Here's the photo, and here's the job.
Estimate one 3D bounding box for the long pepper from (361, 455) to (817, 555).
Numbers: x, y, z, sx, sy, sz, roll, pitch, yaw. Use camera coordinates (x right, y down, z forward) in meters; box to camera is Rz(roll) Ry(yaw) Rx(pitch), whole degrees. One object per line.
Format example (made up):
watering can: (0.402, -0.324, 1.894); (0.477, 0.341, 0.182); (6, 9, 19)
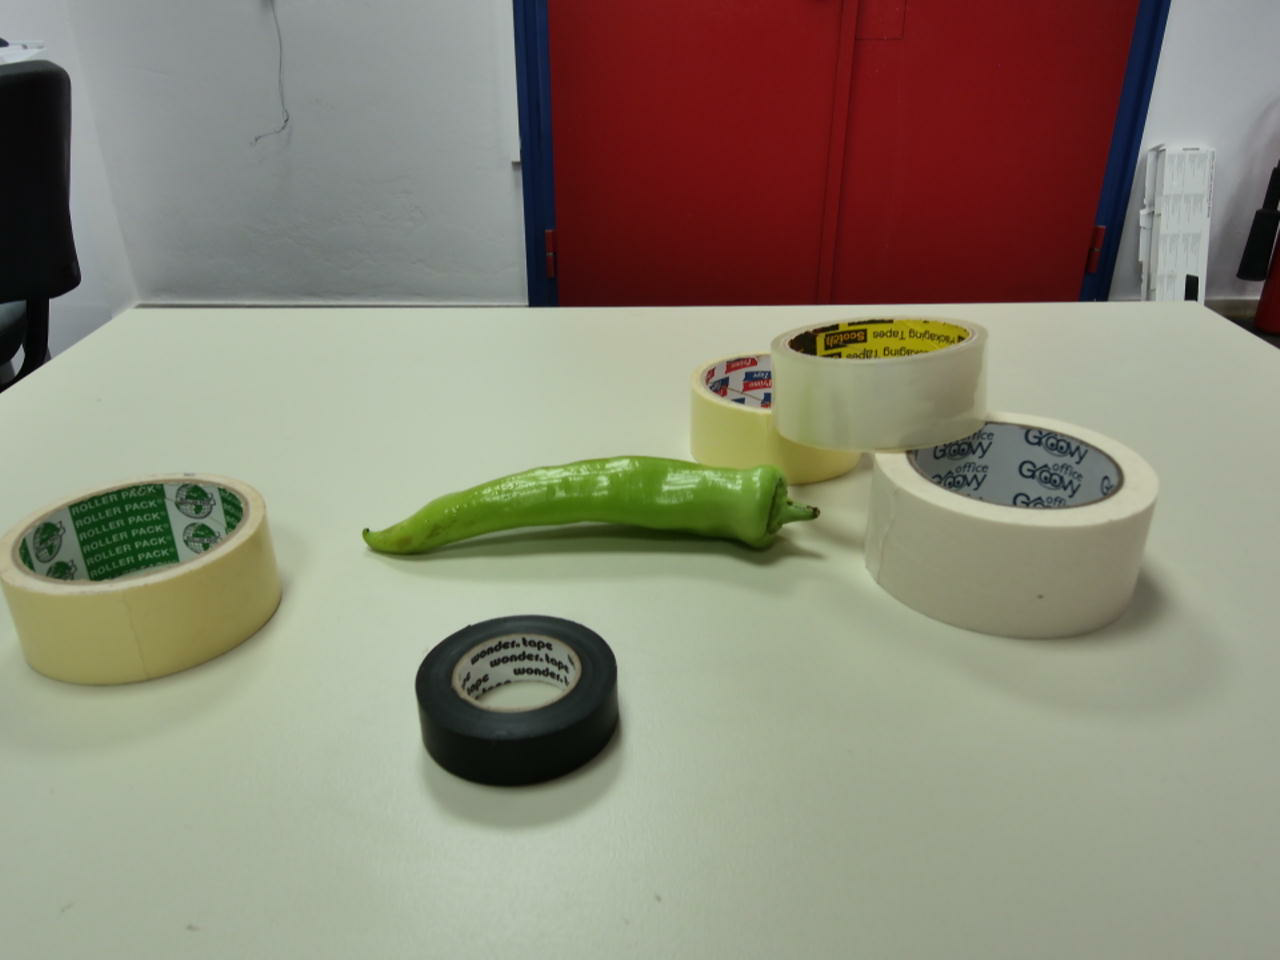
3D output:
long pepper: (-0.023, 0.009, 0.439); (0.197, 0.038, 0.046); (1, 24, 2)
